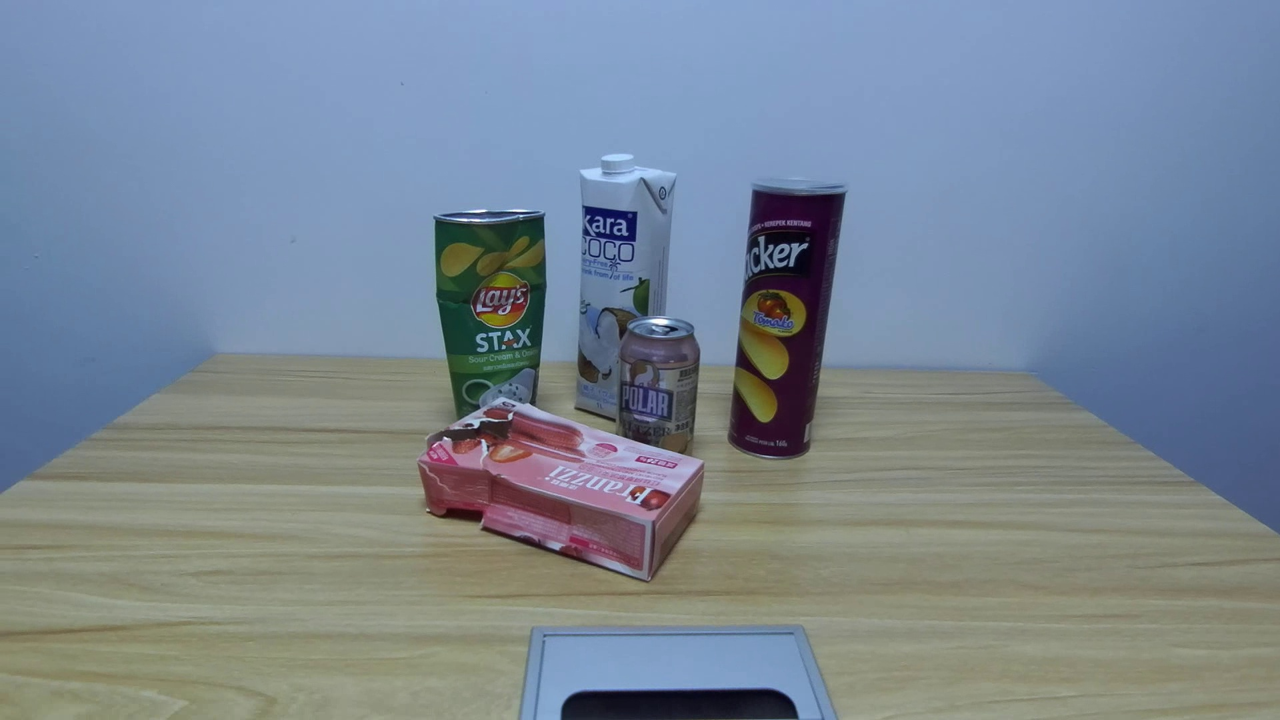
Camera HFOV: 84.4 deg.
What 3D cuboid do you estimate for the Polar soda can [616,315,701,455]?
[{"bbox_3d":[0.015,0.030,0.588,0.067,0.125,0.067,2,21,0],"label":"Polar soda can"}]

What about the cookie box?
[{"bbox_3d":[-0.055,0.086,0.521,0.185,0.059,0.105,11,25,21],"label":"cookie box"}]

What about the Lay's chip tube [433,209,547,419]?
[{"bbox_3d":[-0.126,-0.028,0.617,0.068,0.199,0.075,11,23,22],"label":"Lay's chip tube"}]

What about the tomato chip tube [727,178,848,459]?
[{"bbox_3d":[0.126,-0.034,0.617,0.078,0.234,0.078,2,20,0],"label":"tomato chip tube"}]

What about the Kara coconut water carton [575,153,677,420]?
[{"bbox_3d":[-0.016,-0.068,0.672,0.076,0.245,0.075,16,23,31],"label":"Kara coconut water carton"}]
